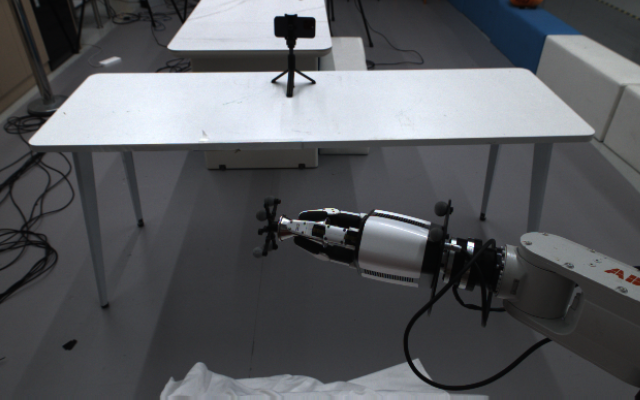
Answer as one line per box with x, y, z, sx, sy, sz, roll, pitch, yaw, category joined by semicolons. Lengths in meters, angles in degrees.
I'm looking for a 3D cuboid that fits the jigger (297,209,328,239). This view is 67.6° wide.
-0.016;0.040;0.692;0.071;0.043;0.043;5;34;14;jigger
